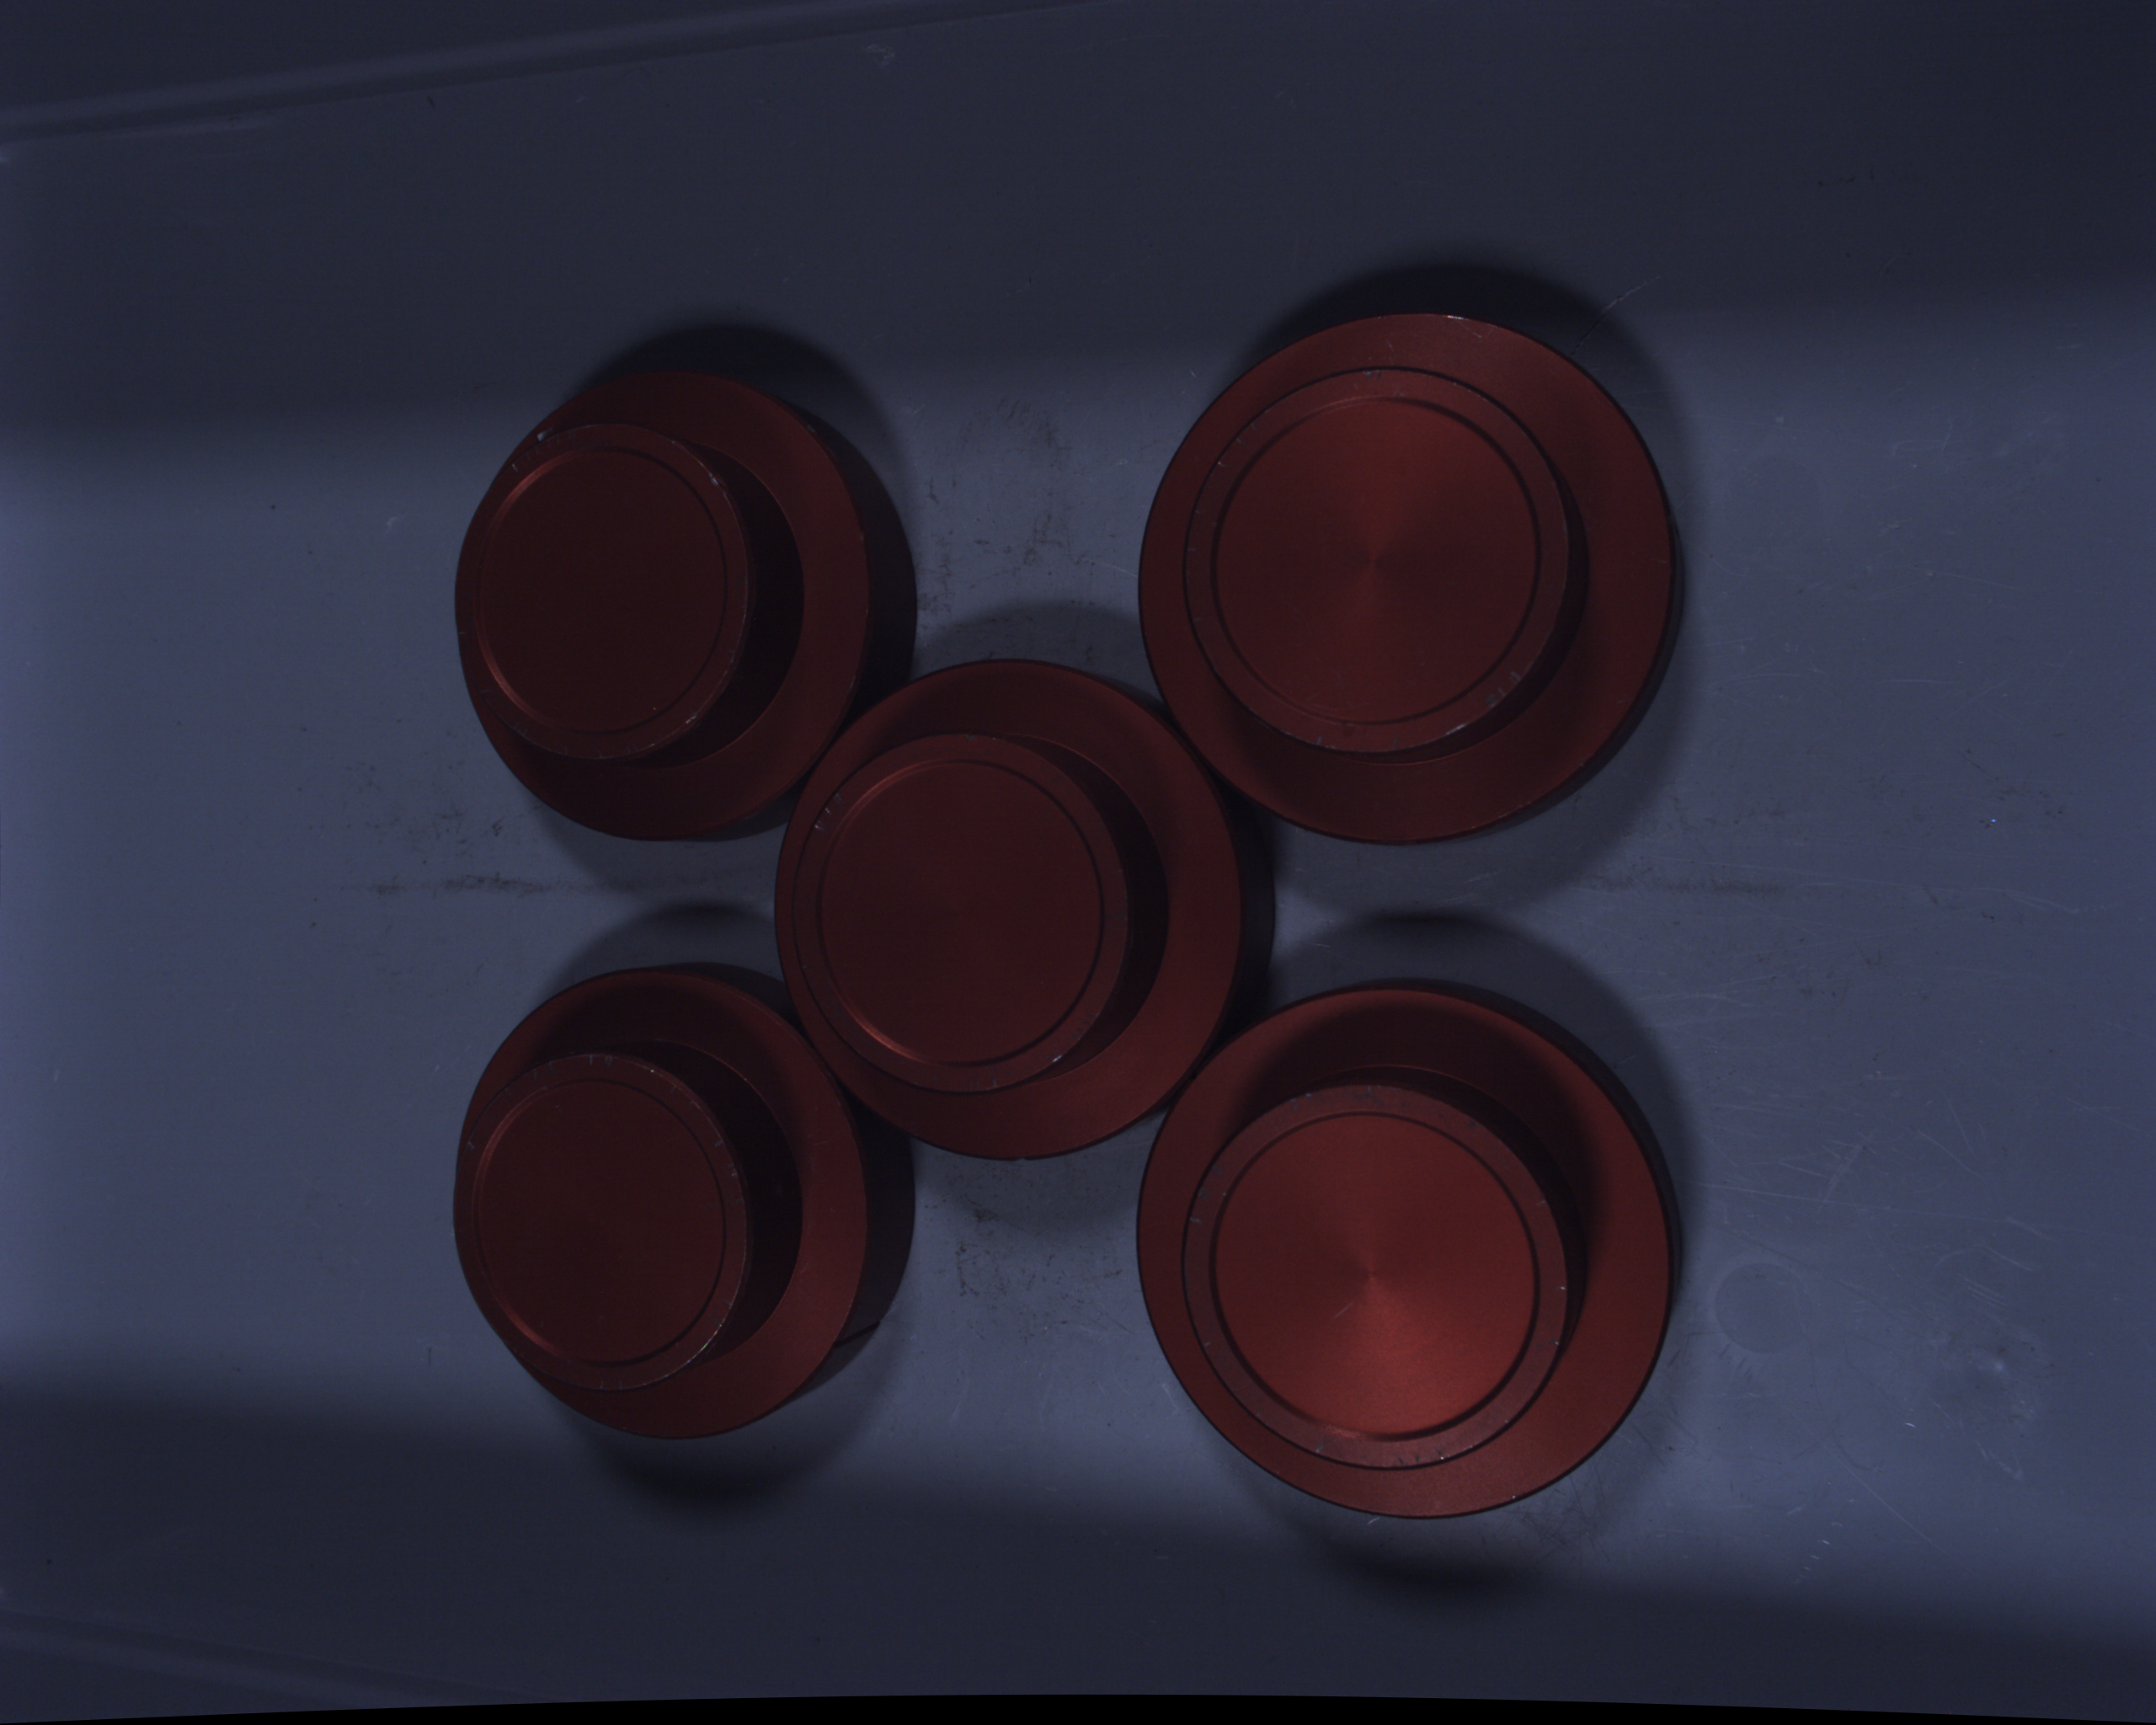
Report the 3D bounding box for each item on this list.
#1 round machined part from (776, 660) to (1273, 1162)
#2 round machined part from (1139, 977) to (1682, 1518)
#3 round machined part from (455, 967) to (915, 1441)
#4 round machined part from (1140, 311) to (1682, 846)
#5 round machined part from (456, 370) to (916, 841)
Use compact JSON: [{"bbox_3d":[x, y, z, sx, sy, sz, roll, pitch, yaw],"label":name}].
[{"bbox_3d":[-0.015,0.009,0.404,0.098,0.042,0.097,0,90,19],"label":"round machined part"},{"bbox_3d":[0.058,0.071,0.379,0.098,0.042,0.097,0,90,19],"label":"round machined part"},{"bbox_3d":[-0.087,0.071,0.429,0.098,0.042,0.097,0,90,19],"label":"round machined part"},{"bbox_3d":[0.058,-0.052,0.379,0.098,0.042,0.097,0,90,19],"label":"round machined part"},{"bbox_3d":[-0.087,-0.053,0.429,0.098,0.042,0.097,0,90,19],"label":"round machined part"}]
